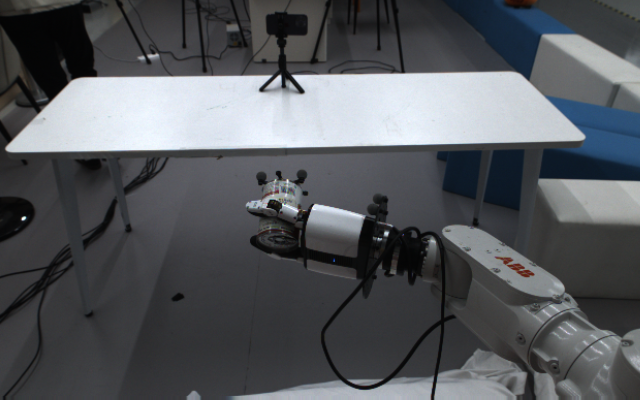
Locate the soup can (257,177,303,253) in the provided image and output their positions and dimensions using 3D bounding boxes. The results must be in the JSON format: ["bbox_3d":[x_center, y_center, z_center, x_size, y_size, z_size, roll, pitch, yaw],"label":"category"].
[{"bbox_3d":[-0.064,0.025,0.777,0.067,0.067,0.101,3,56,1],"label":"soup can"}]
